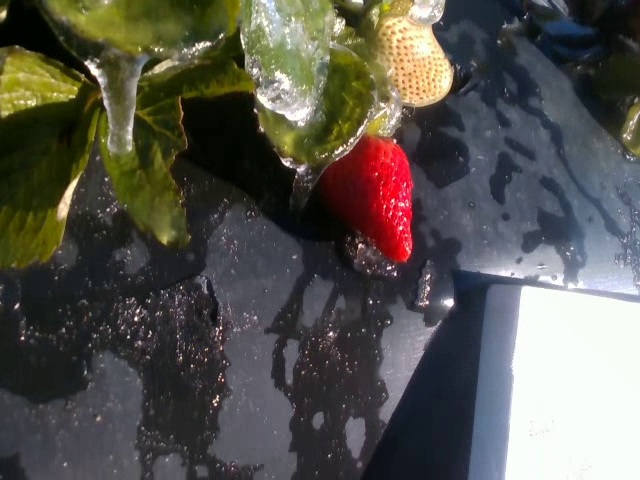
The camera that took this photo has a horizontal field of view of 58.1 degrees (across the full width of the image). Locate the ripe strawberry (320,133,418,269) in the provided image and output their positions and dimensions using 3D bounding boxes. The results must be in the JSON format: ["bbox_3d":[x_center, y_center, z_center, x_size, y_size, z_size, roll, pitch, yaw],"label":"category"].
[{"bbox_3d":[0.028,-0.015,0.215,0.041,0.052,0.040,-10,-4,-28],"label":"ripe strawberry"}]
